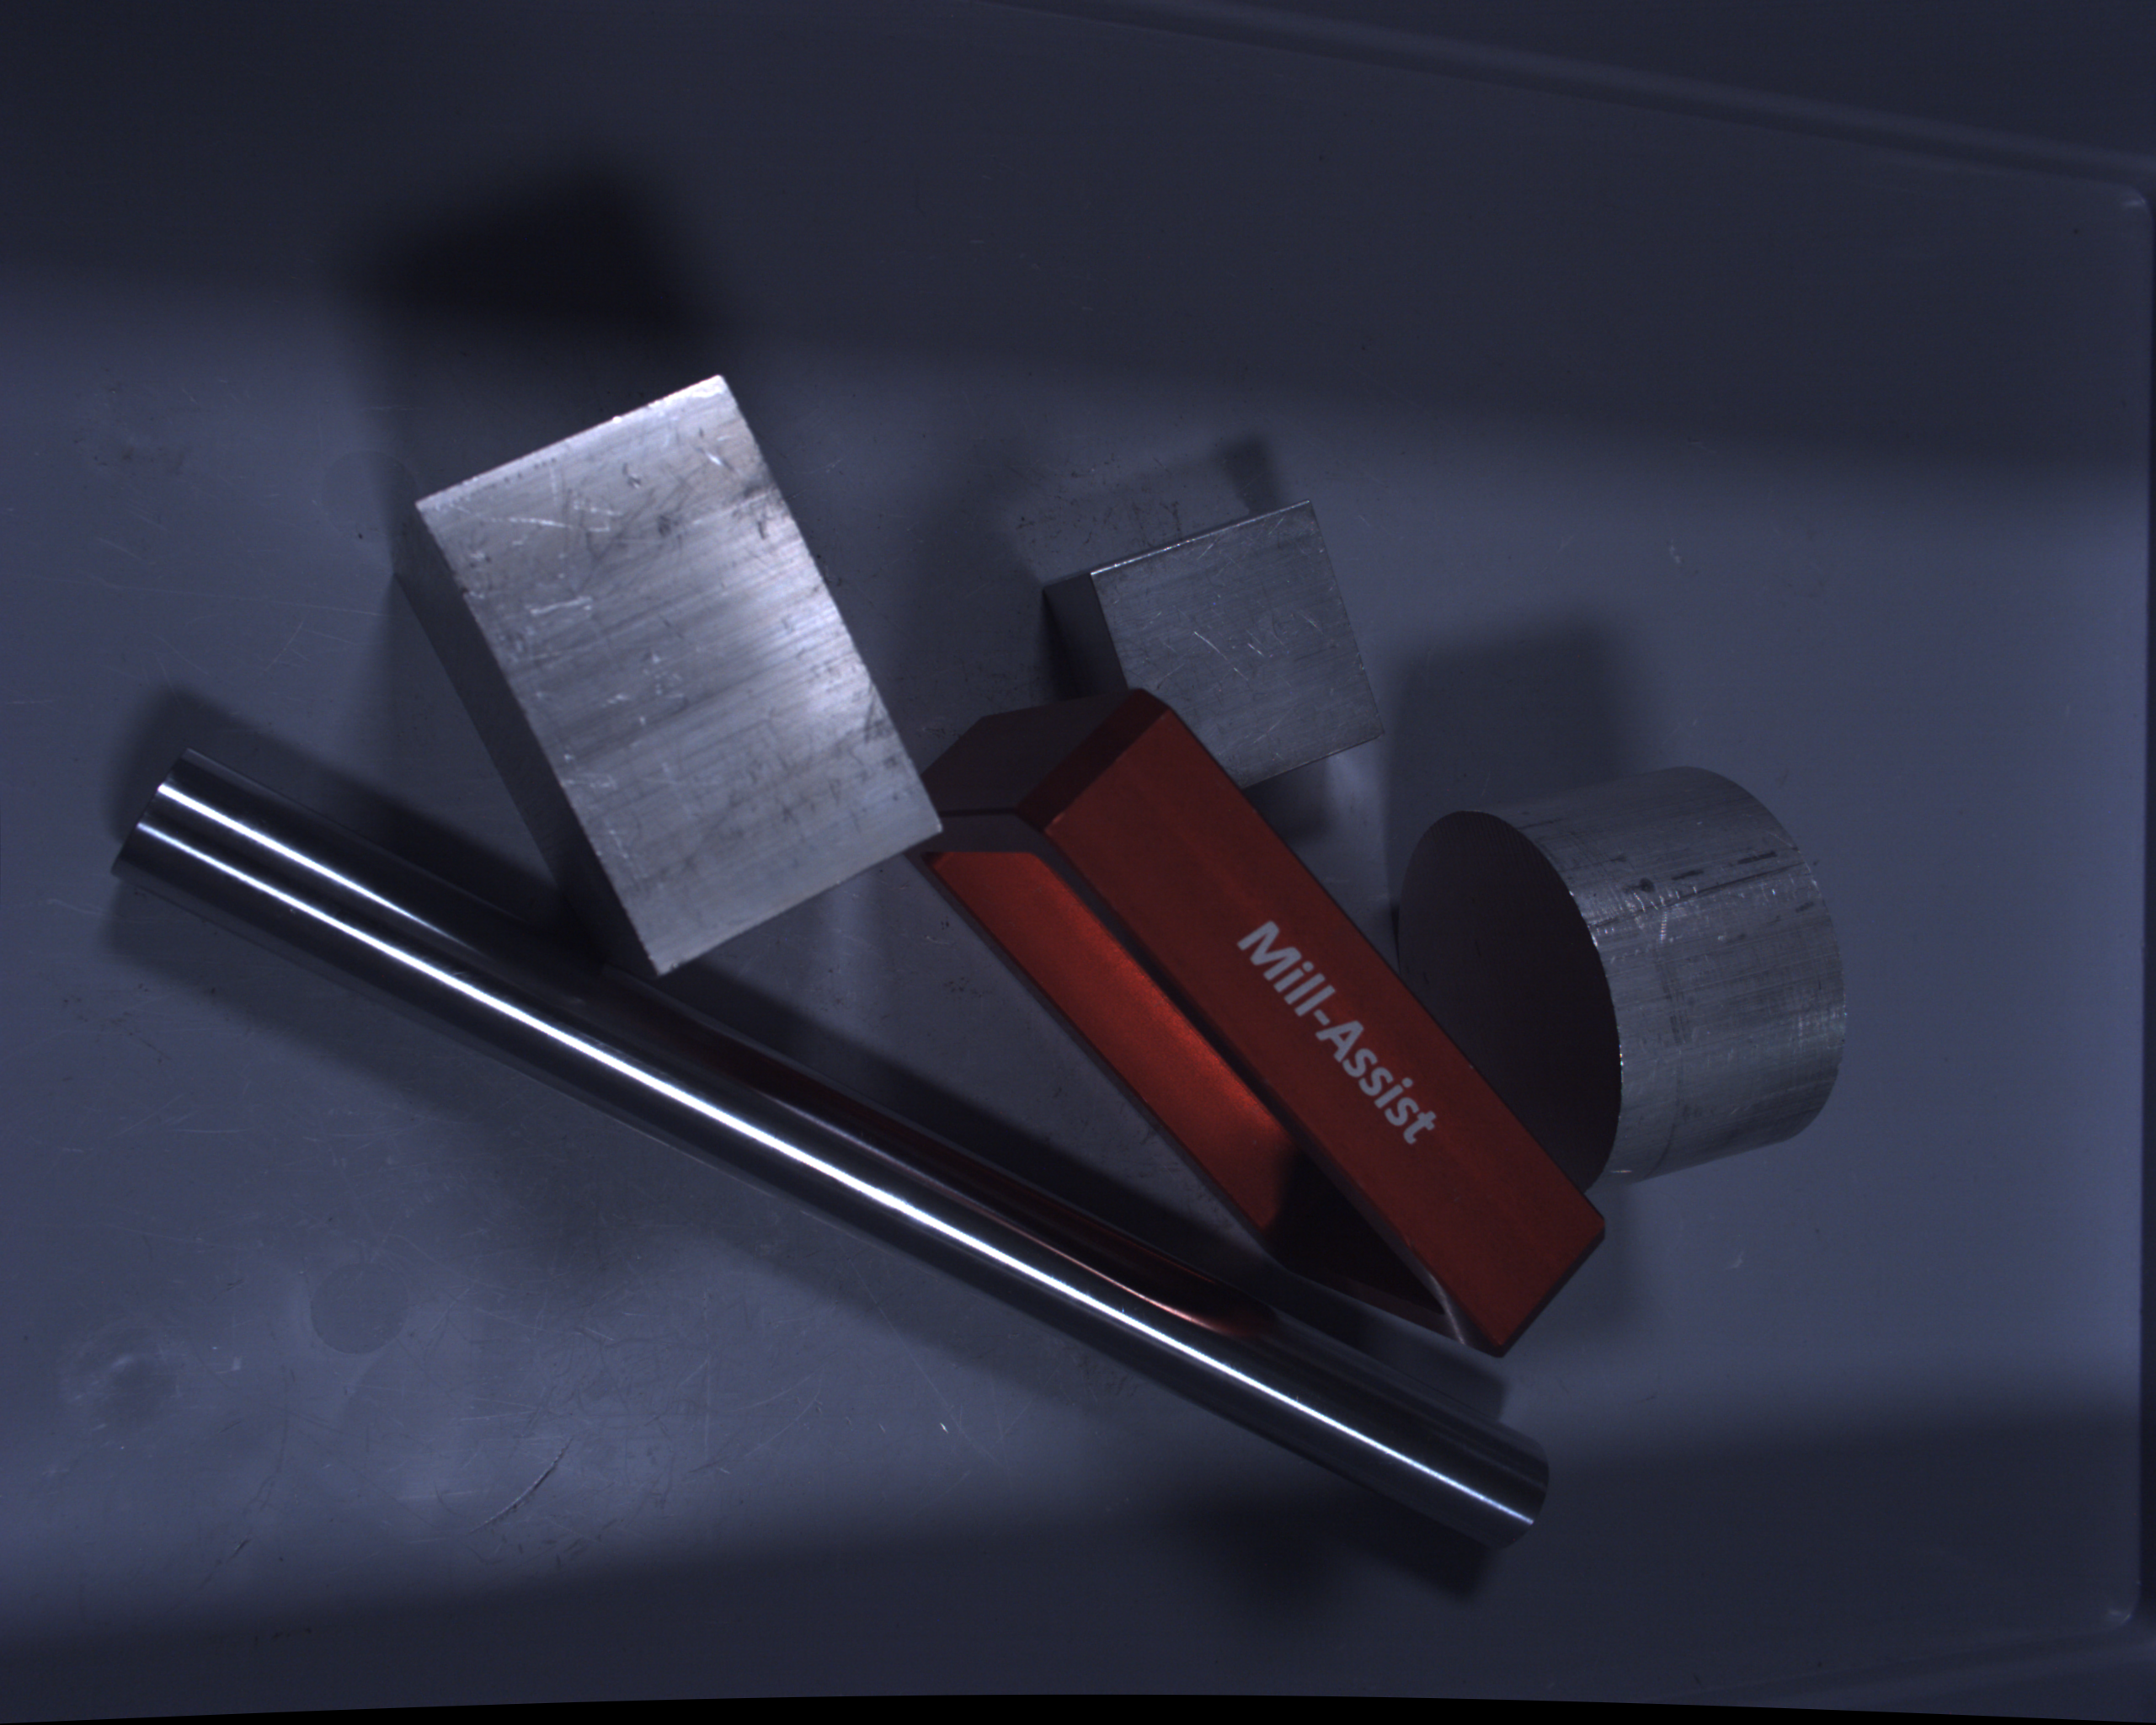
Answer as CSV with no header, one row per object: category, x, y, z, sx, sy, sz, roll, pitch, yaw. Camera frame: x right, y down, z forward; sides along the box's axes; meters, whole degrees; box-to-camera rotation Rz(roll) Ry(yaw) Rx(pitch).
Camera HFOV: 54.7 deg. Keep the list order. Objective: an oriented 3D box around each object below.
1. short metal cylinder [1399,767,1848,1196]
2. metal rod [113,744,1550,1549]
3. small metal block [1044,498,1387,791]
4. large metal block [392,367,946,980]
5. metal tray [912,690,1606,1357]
short metal cylinder,0.107,0.024,0.421,0.050,0.080,0.079,-12,95,-19
metal rod,-0.032,0.062,0.398,0.301,0.025,0.025,30,80,-18
small metal block,0.028,-0.040,0.419,0.050,0.025,0.050,-21,97,-19
large metal block,-0.073,-0.029,0.353,0.050,0.080,0.080,-28,100,-18
metal tray,0.027,0.029,0.385,0.030,0.090,0.130,-46,105,-15
